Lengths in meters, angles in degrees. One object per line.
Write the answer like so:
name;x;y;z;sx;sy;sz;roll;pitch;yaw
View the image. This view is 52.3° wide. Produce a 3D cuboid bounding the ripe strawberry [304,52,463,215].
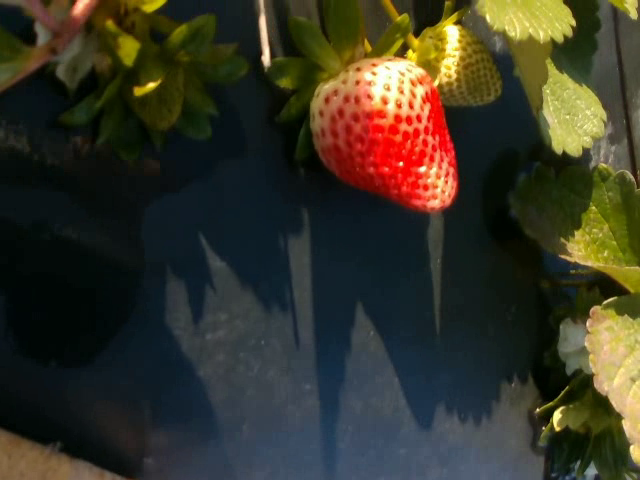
ripe strawberry;0.016;-0.022;0.143;0.042;0.037;0.045;-1;43;-52
